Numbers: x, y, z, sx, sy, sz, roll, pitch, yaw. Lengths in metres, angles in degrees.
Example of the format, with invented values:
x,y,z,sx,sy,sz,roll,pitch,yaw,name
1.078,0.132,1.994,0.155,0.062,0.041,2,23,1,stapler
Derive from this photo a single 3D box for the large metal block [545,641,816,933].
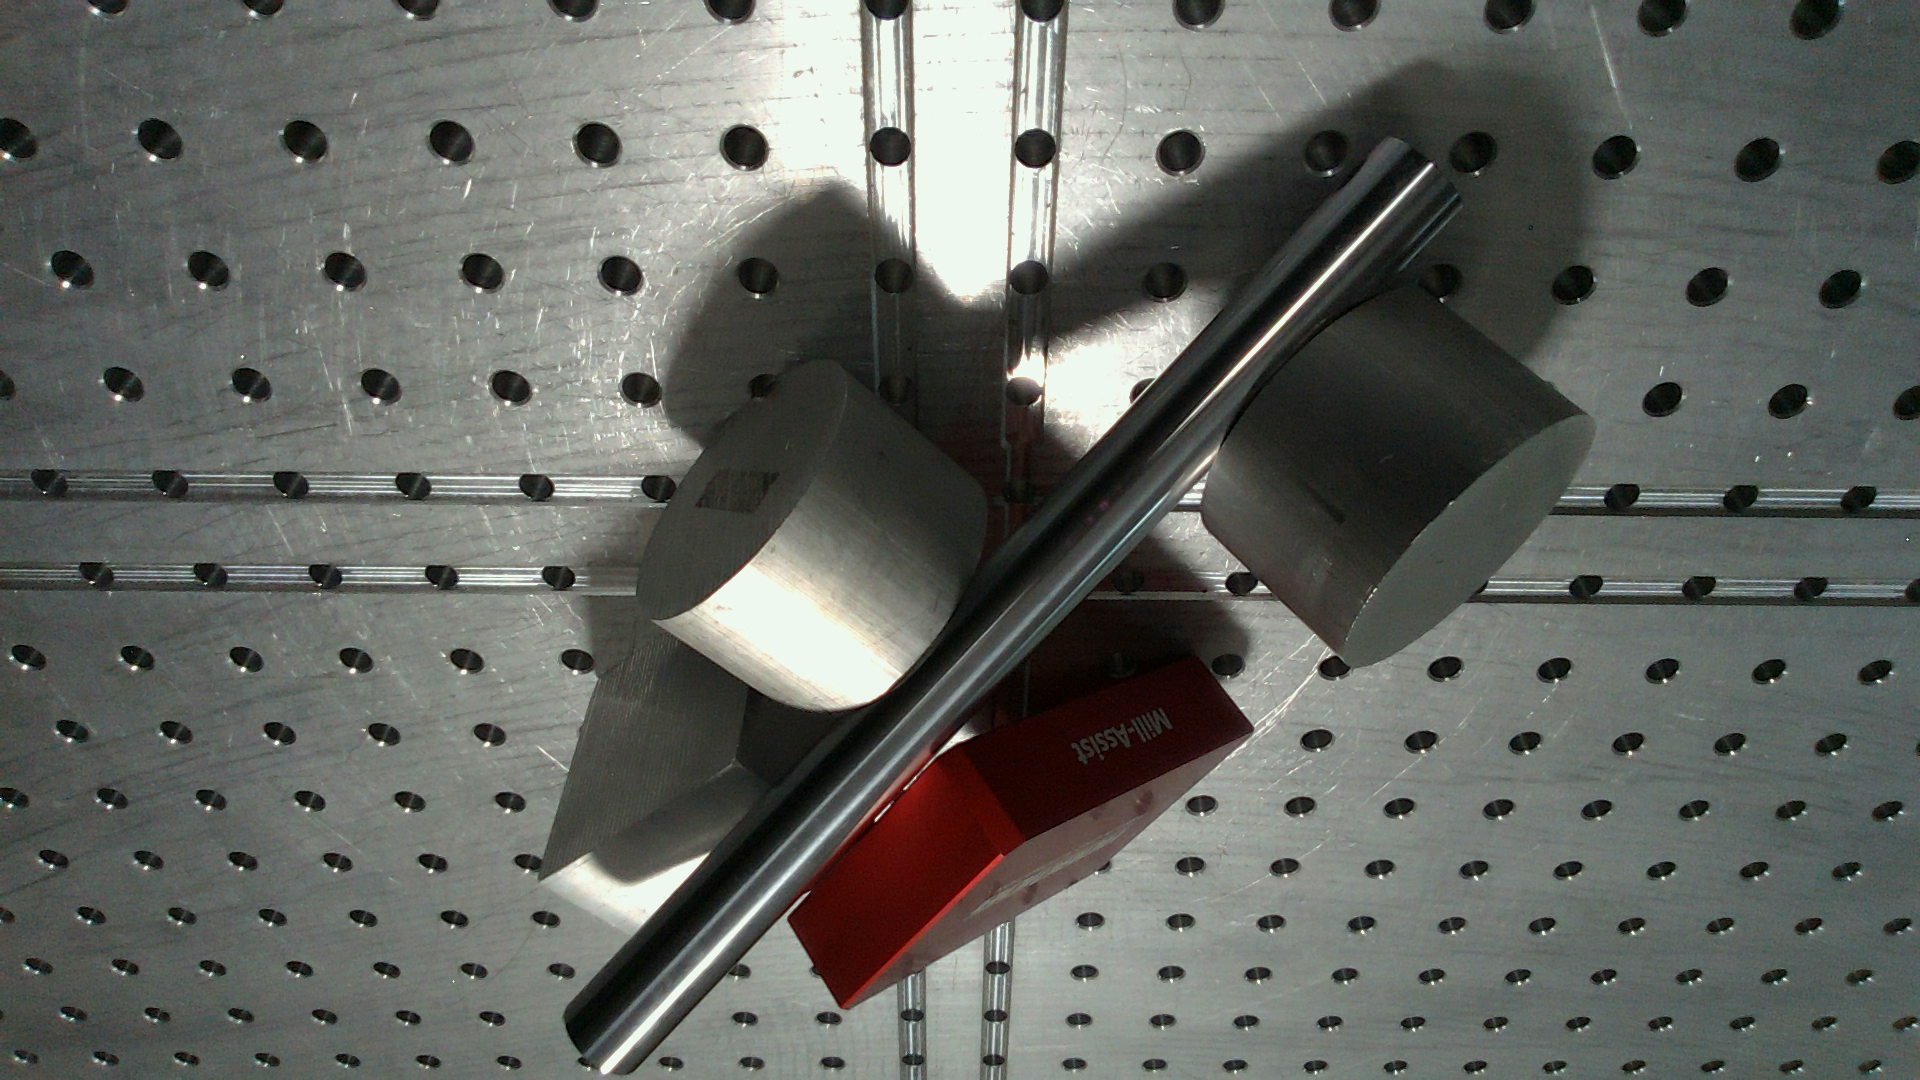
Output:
x,y,z,sx,sy,sz,roll,pitch,yaw,name
-0.070,0.067,0.413,0.080,0.080,0.050,-32,123,24,large metal block

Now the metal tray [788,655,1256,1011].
x,y,z,sx,sy,sz,roll,pitch,yaw,name
0.022,0.084,0.409,0.131,0.030,0.090,-11,148,-50,metal tray

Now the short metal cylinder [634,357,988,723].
x,y,z,sx,sy,sz,roll,pitch,yaw,name
-0.039,0.000,0.357,0.080,0.080,0.050,-36,121,26,short metal cylinder

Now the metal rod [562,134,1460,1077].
x,y,z,sx,sy,sz,roll,pitch,yaw,name
0.006,0.023,0.343,0.025,0.025,0.300,39,99,-28,metal rod

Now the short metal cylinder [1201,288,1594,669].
x,y,z,sx,sy,sz,roll,pitch,yaw,name
0.107,-0.014,0.340,0.080,0.050,0.080,-31,151,-20,short metal cylinder
